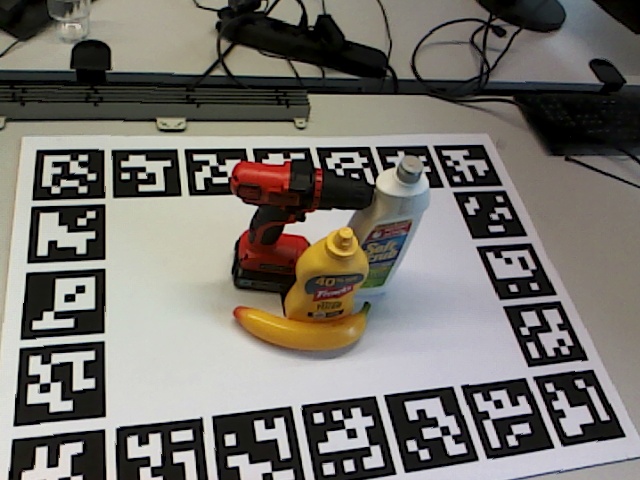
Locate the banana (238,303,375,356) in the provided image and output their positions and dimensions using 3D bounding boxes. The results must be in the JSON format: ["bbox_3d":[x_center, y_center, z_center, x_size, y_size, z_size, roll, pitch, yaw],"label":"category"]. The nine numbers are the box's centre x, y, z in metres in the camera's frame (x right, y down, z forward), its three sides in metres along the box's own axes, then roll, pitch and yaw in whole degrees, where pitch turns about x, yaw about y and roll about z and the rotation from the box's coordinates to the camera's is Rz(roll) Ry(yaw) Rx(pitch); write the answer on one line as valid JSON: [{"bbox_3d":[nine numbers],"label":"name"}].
[{"bbox_3d":[-0.014,0.124,0.854,0.197,0.039,0.074,0,55,-10],"label":"banana"}]

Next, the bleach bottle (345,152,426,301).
[{"bbox_3d":[0.077,-0.015,0.840,0.102,0.250,0.068,-1,49,-13],"label":"bleach bottle"}]

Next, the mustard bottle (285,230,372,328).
[{"bbox_3d":[0.016,0.050,0.808,0.096,0.191,0.058,-2,55,-16],"label":"mustard bottle"}]

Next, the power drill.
[{"bbox_3d":[-0.033,-0.018,0.822,0.184,0.187,0.057,8,52,-9],"label":"power drill"}]
